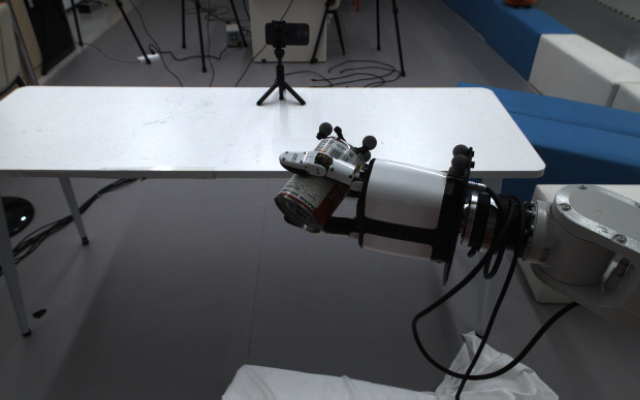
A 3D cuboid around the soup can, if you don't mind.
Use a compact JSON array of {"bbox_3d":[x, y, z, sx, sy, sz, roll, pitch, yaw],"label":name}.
[{"bbox_3d":[0.002,-0.021,0.592,0.067,0.067,0.101,25,67,30],"label":"soup can"}]
